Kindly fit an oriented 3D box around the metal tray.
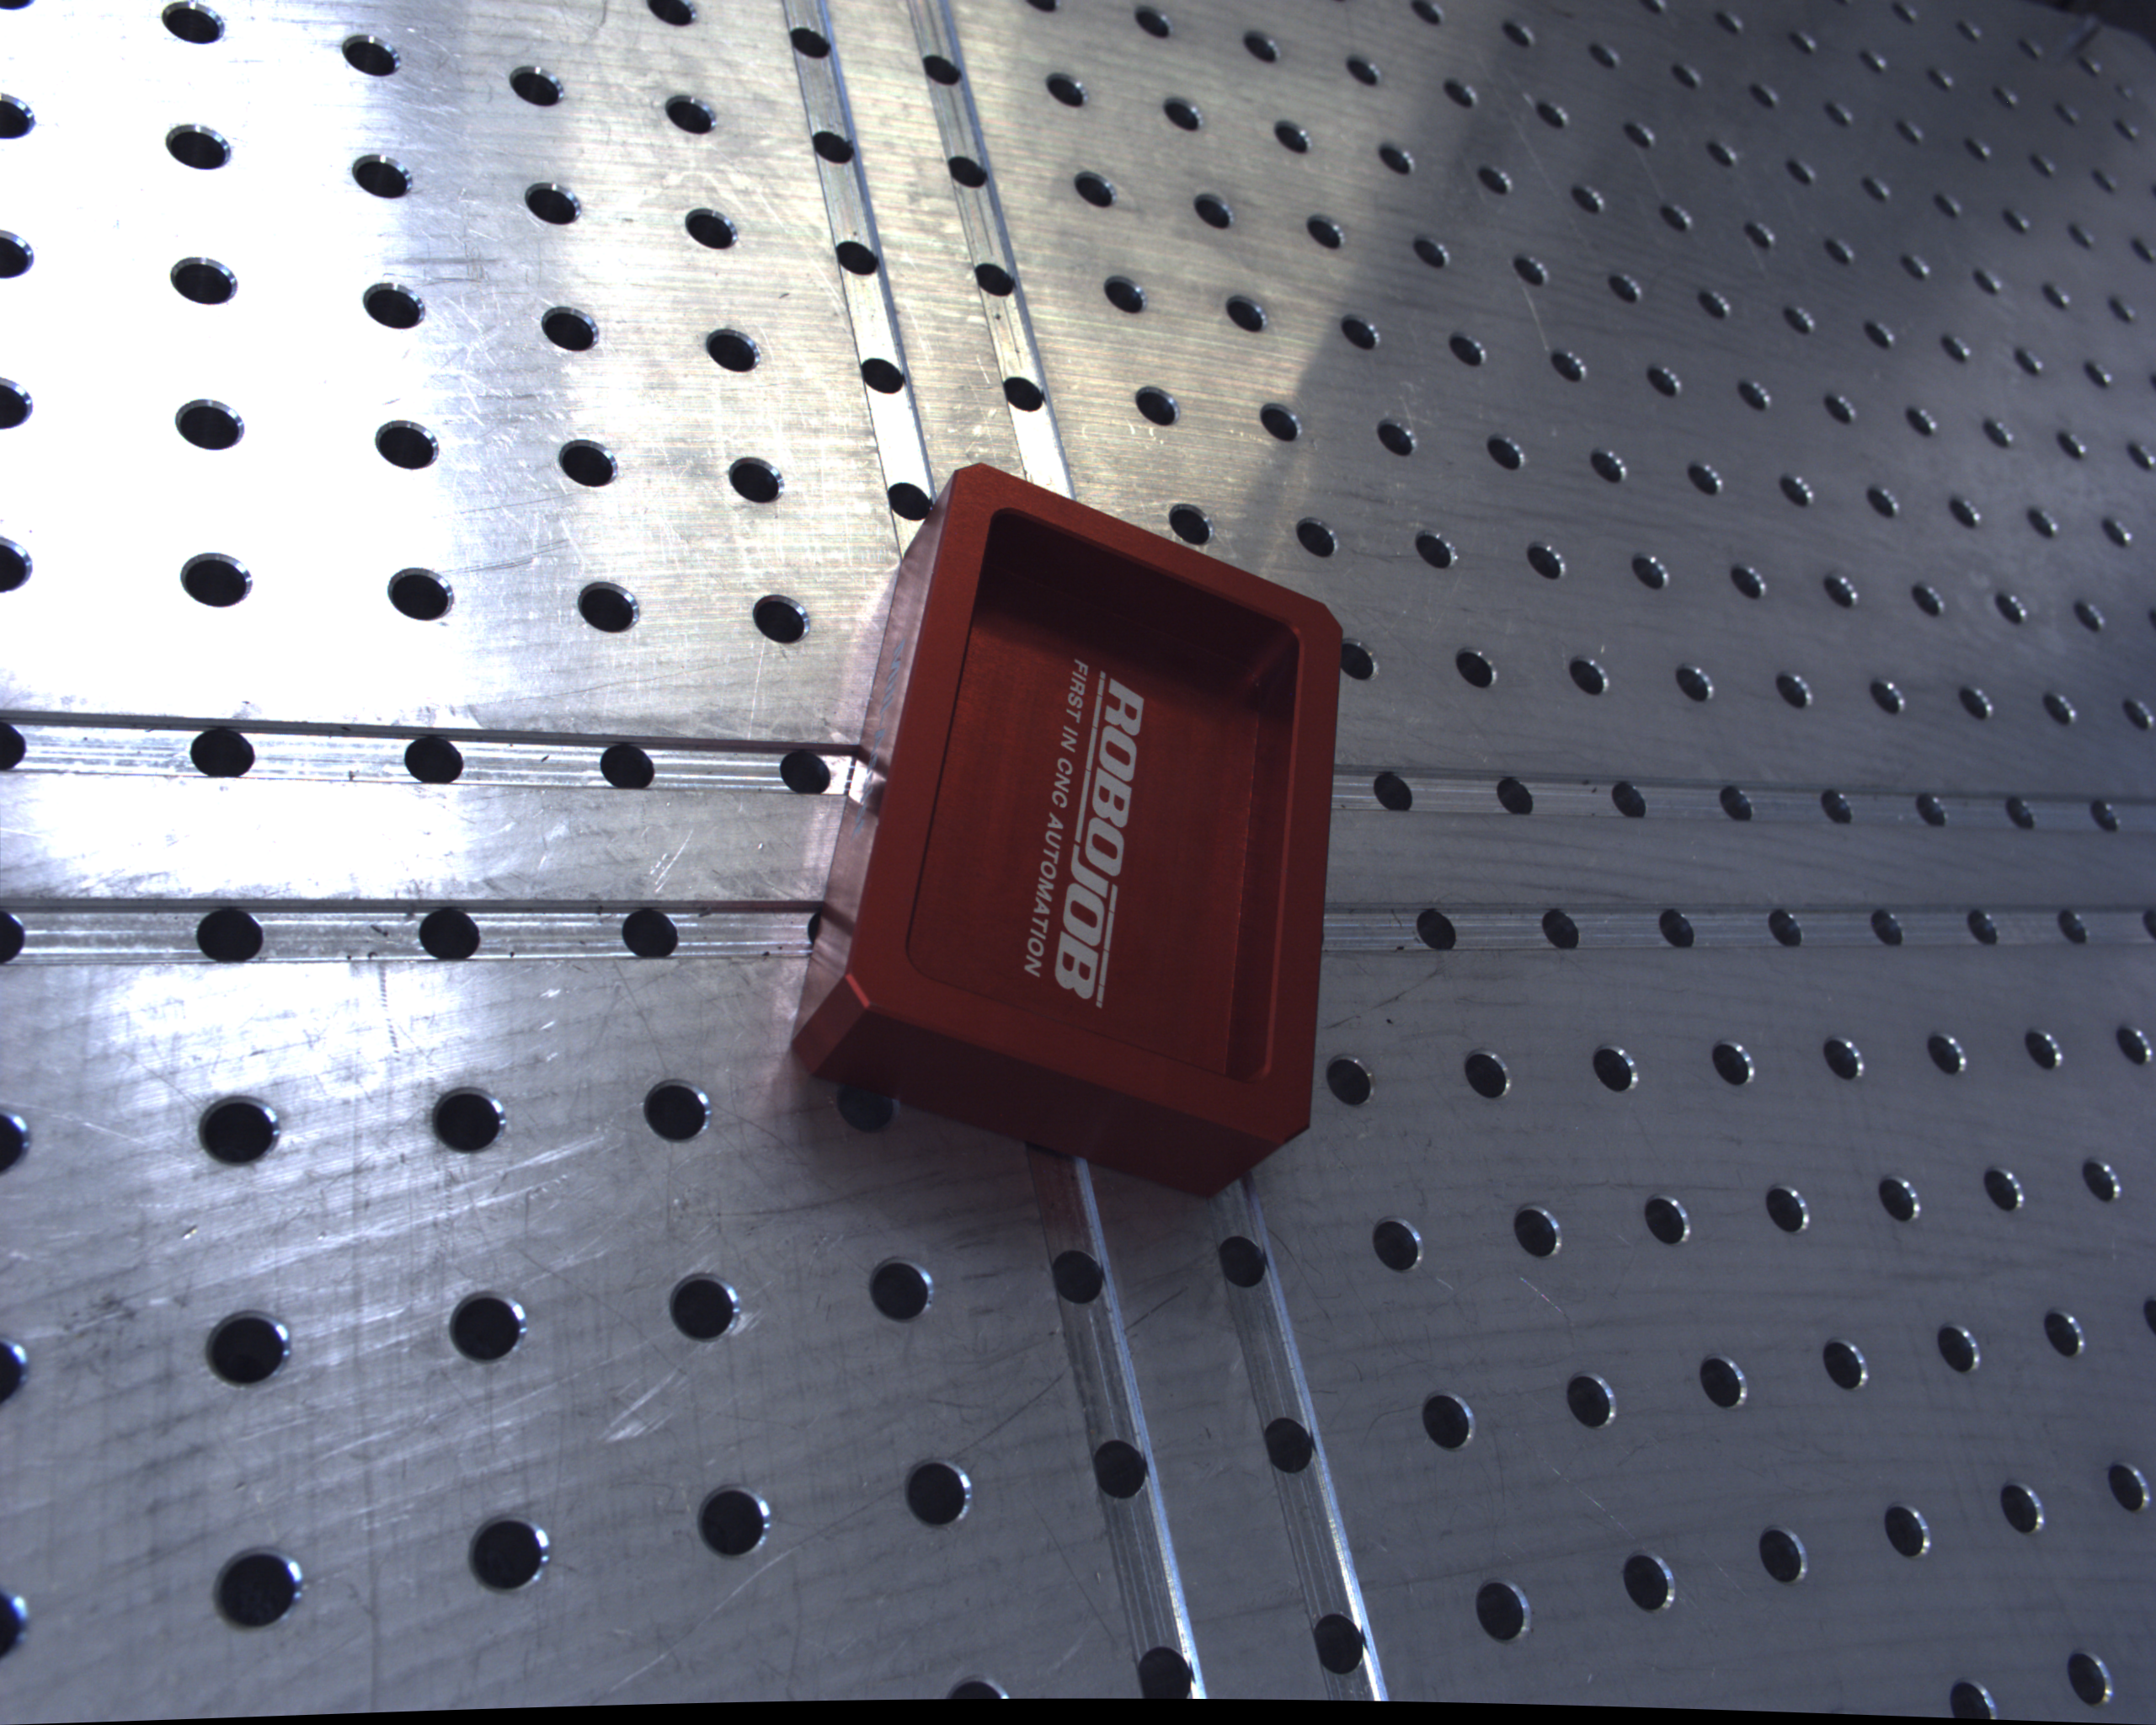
[{"bbox_3d":[0.003,-0.009,0.411,0.090,0.030,0.130,20,54,-17],"label":"metal tray"}]
